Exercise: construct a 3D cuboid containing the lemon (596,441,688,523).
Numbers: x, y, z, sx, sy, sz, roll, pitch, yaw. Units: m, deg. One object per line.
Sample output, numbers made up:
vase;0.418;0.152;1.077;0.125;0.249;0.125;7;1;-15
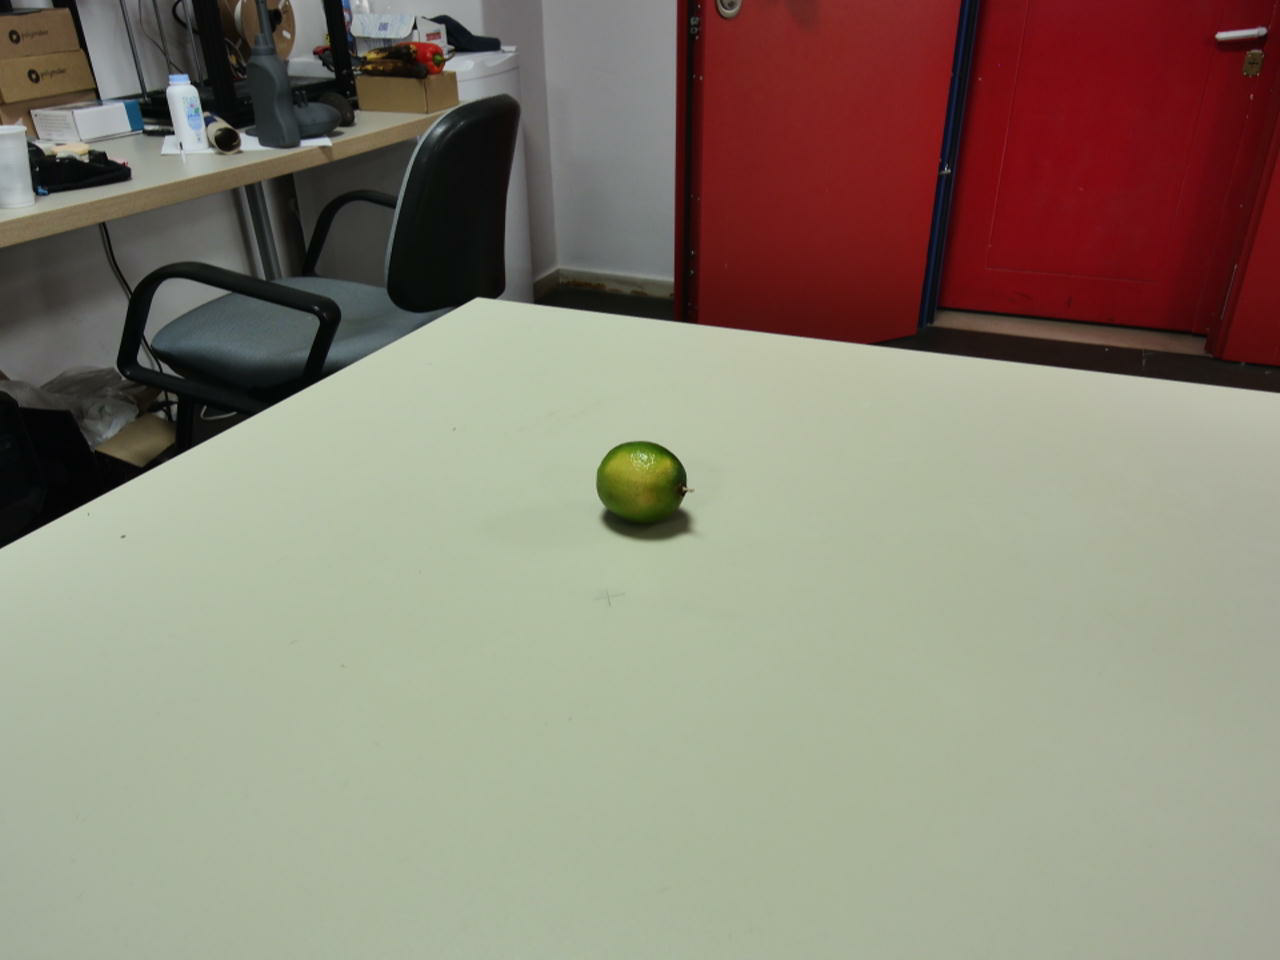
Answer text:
lemon;0.001;0.001;0.621;0.054;0.050;0.055;-6;27;-14
